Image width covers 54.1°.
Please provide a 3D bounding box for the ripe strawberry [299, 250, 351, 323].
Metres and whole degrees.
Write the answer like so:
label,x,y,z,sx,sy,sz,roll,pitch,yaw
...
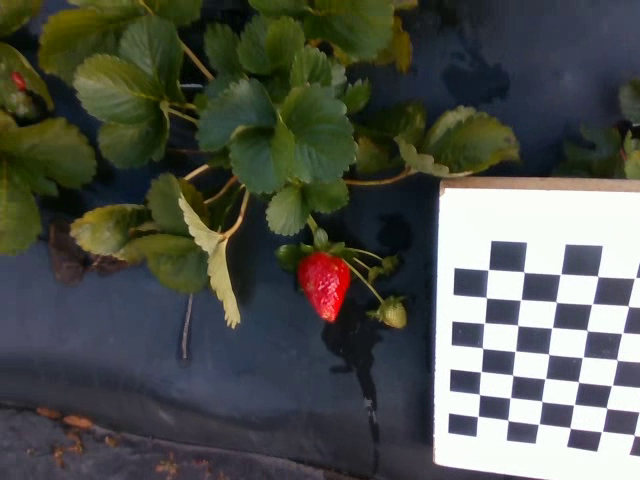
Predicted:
label,x,y,z,sx,sy,sz,roll,pitch,yaw
ripe strawberry,0.005,0.040,0.484,0.043,0.057,0.052,-19,-38,30
